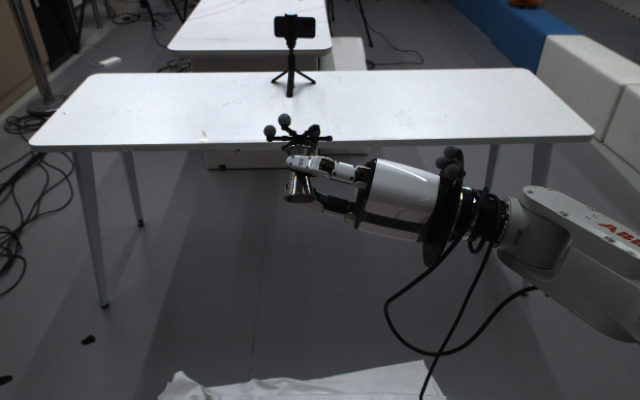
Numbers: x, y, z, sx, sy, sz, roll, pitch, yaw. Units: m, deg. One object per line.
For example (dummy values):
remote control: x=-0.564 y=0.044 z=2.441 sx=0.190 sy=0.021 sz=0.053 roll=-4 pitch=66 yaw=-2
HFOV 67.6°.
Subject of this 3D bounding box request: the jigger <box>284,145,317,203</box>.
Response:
jigger: x=-0.026 y=-0.035 z=0.636 sx=0.043 sy=0.043 sz=0.071 roll=0 pitch=75 yaw=-3
